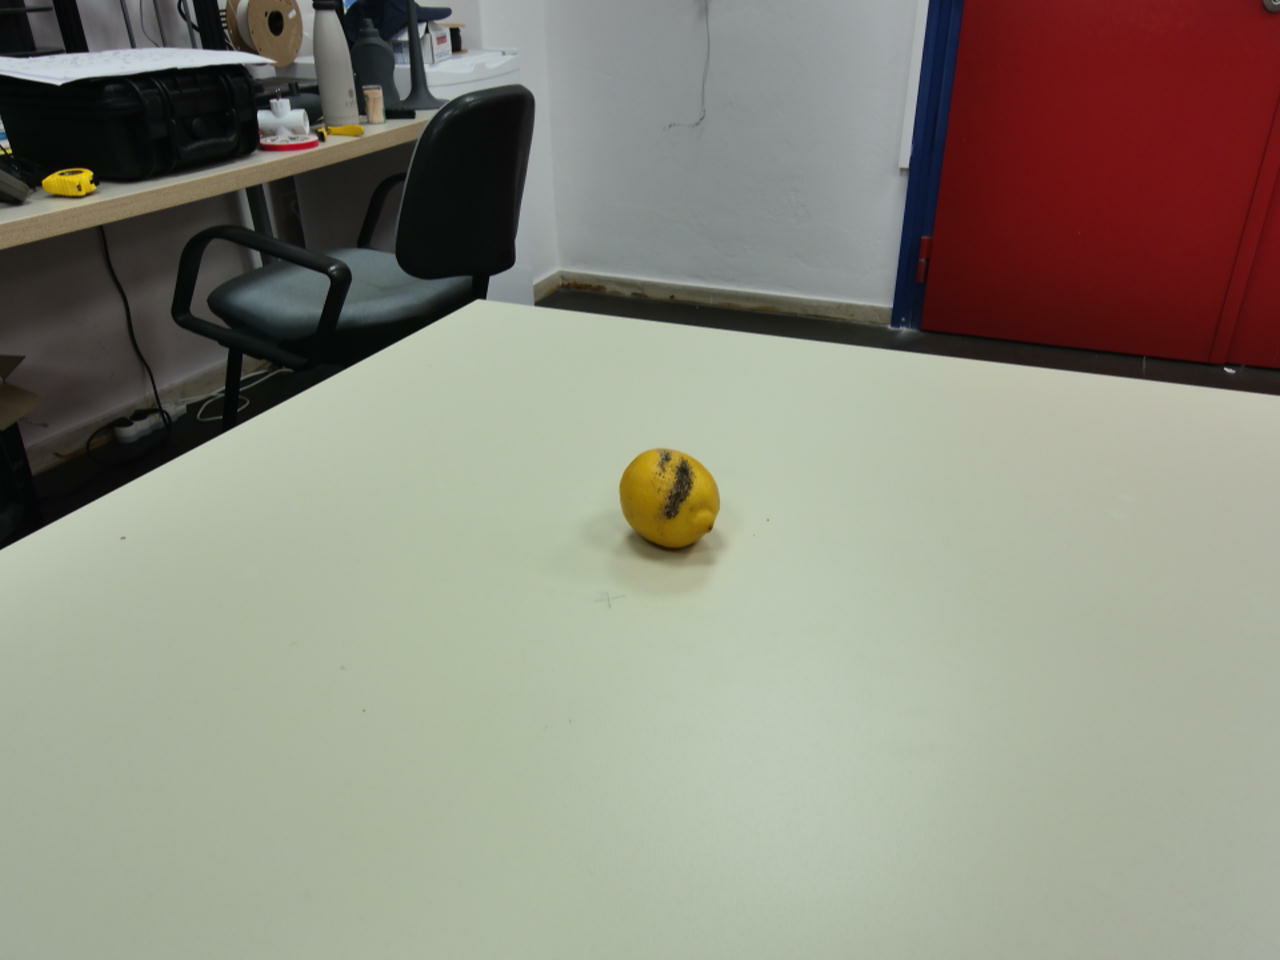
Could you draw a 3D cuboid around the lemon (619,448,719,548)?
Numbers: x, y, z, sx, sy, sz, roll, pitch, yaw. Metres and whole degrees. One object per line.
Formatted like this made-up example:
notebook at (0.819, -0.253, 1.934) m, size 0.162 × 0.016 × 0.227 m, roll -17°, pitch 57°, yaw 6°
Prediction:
lemon at (0.017, 0.011, 0.596) m, size 0.061 × 0.056 × 0.058 m, roll 8°, pitch 27°, yaw 15°
